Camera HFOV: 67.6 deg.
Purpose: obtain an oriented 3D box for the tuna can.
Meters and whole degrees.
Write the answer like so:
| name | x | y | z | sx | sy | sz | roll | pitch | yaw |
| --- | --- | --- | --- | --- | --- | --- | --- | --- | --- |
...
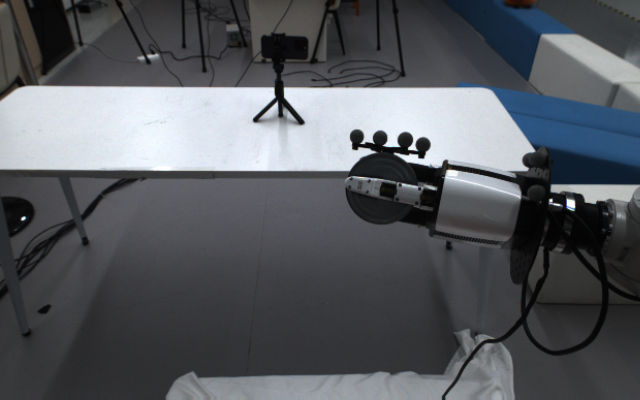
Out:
| name | x | y | z | sx | sy | sz | roll | pitch | yaw |
| --- | --- | --- | --- | --- | --- | --- | --- | --- | --- |
| tuna can | 0.077 | -0.017 | 0.585 | 0.085 | 0.085 | 0.034 | 11 | 2 | 12 |
